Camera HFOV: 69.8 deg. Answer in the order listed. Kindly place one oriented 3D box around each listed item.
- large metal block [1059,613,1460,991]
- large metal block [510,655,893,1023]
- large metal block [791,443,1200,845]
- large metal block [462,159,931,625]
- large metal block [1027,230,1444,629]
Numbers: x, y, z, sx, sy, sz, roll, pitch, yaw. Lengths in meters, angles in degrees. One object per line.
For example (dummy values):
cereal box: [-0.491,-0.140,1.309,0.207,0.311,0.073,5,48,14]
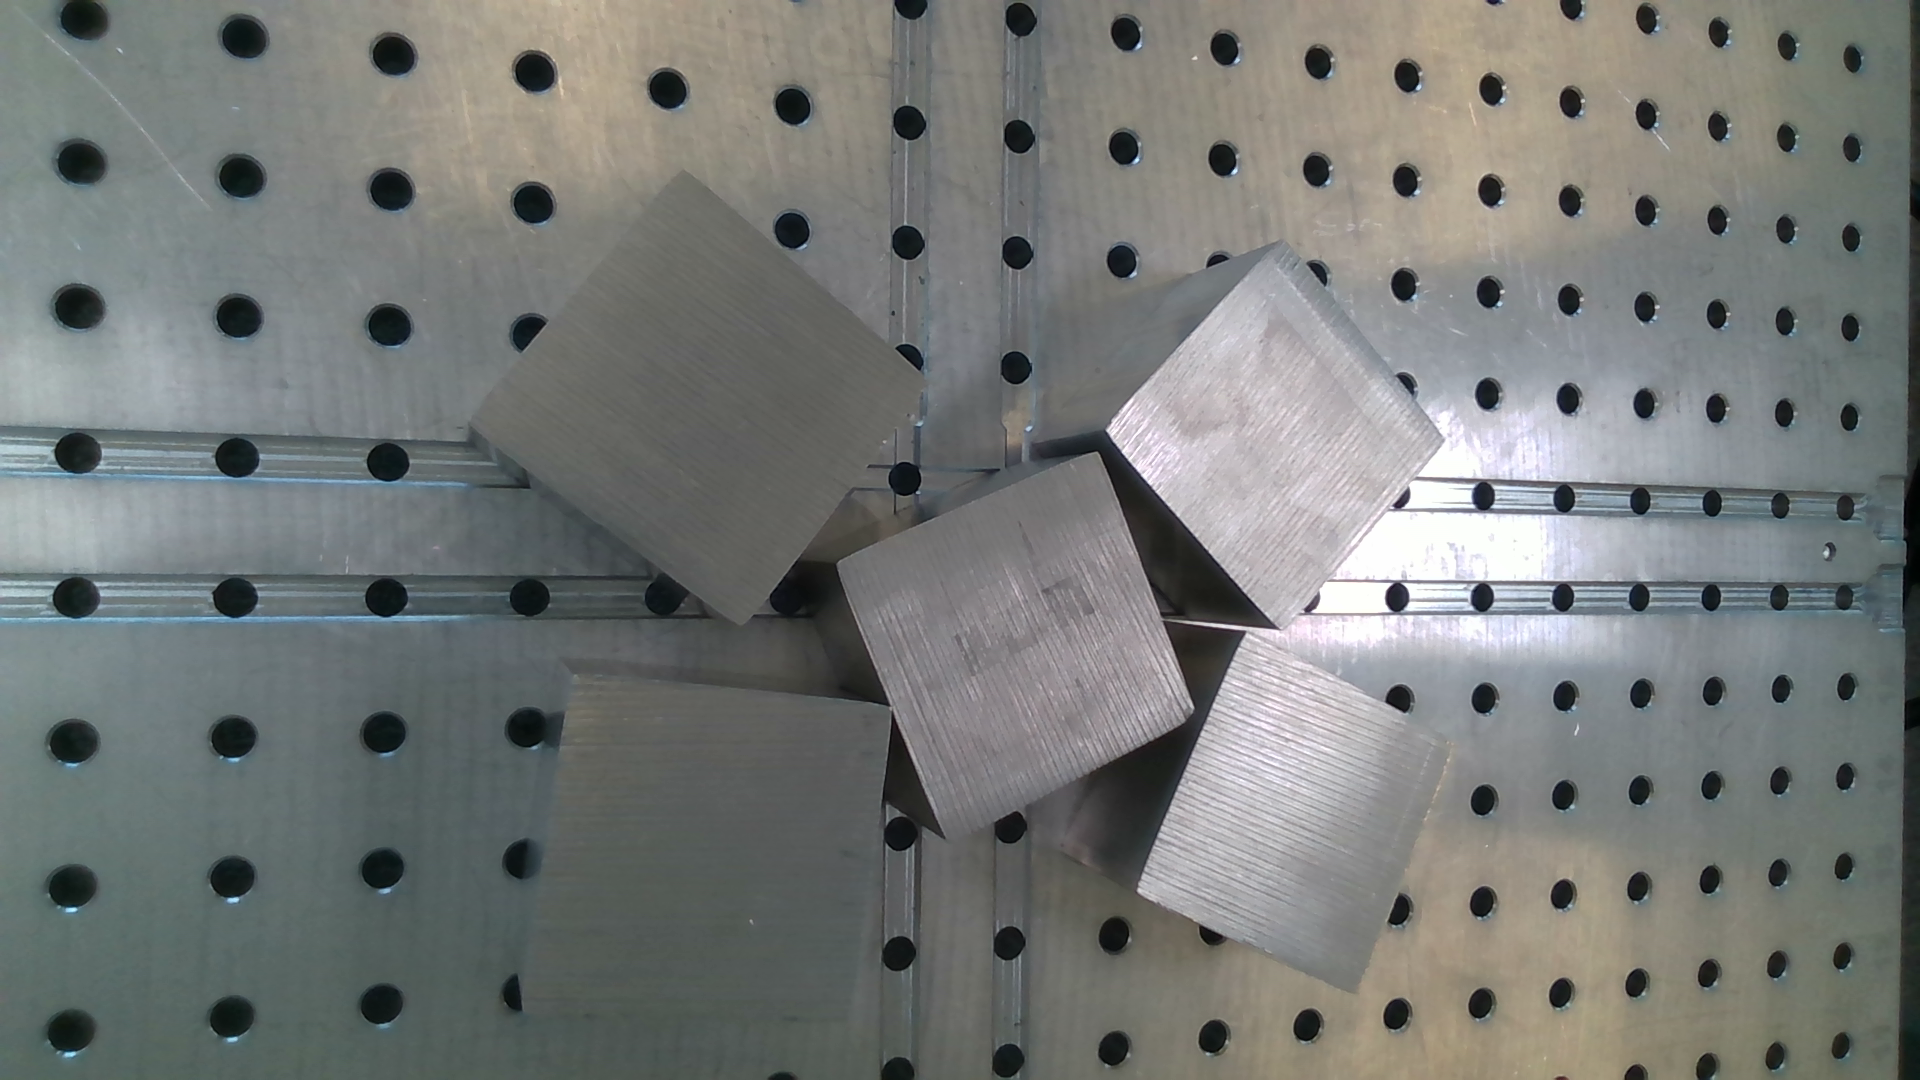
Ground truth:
large metal block: [0.089,0.077,0.415,0.080,0.050,0.080,27,84,-18]
large metal block: [-0.069,0.076,0.358,0.080,0.050,0.080,9,87,-20]
large metal block: [0.009,0.026,0.385,0.080,0.050,0.080,-24,98,-18]
large metal block: [-0.069,-0.035,0.356,0.080,0.050,0.080,39,77,-16]
large metal block: [0.082,-0.031,0.413,0.080,0.050,0.080,-46,104,-15]
